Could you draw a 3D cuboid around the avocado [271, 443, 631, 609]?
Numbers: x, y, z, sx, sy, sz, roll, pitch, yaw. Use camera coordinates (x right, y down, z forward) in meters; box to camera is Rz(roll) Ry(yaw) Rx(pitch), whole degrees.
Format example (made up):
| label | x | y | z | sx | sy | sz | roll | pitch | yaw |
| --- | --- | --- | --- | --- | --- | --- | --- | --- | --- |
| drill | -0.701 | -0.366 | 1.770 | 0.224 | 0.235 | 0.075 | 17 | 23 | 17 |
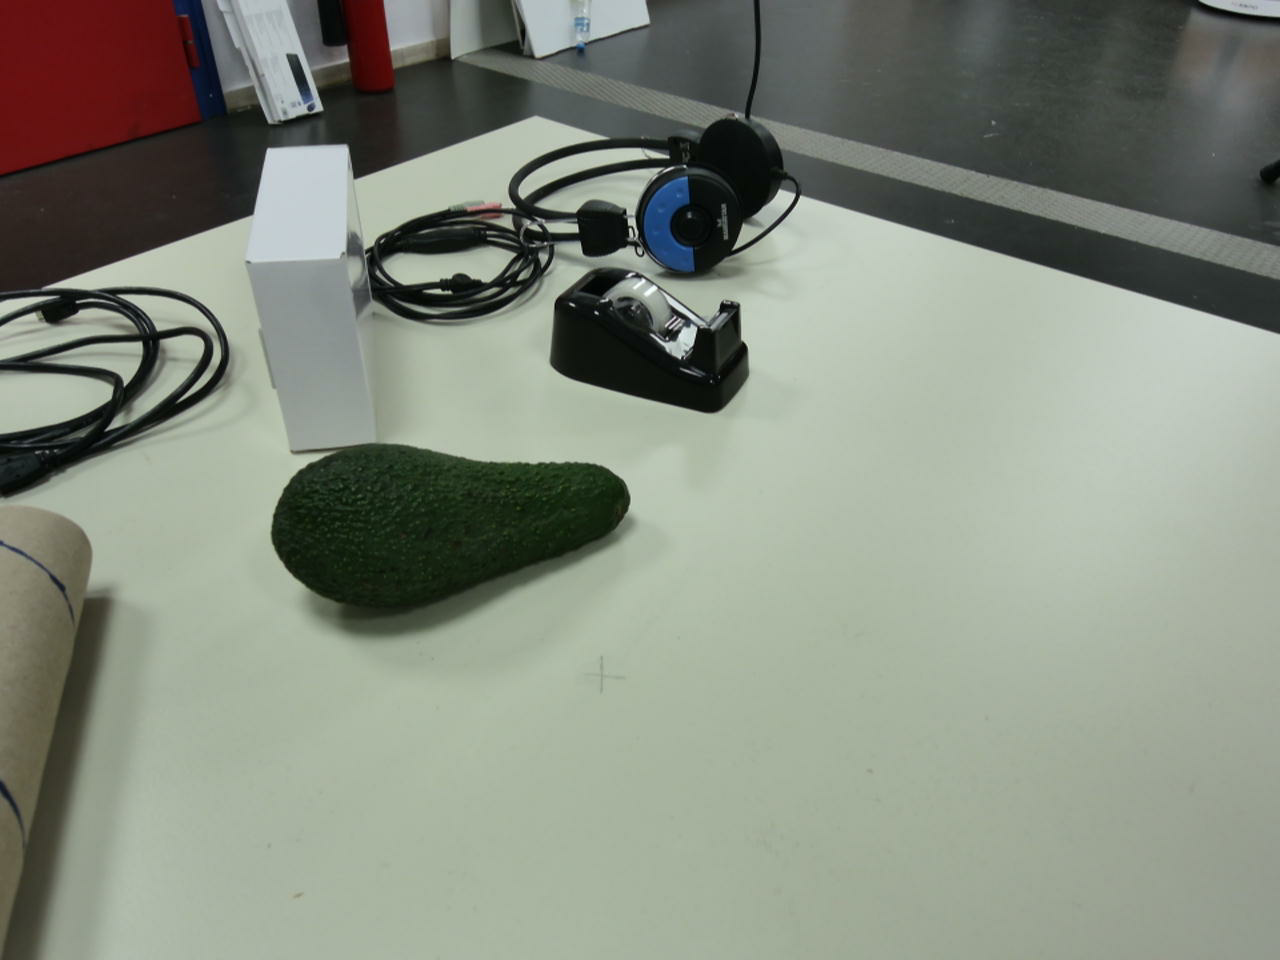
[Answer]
| label | x | y | z | sx | sy | sz | roll | pitch | yaw |
| --- | --- | --- | --- | --- | --- | --- | --- | --- | --- |
| avocado | -0.071 | 0.006 | 0.392 | 0.141 | 0.067 | 0.063 | -24 | 42 | -30 |
